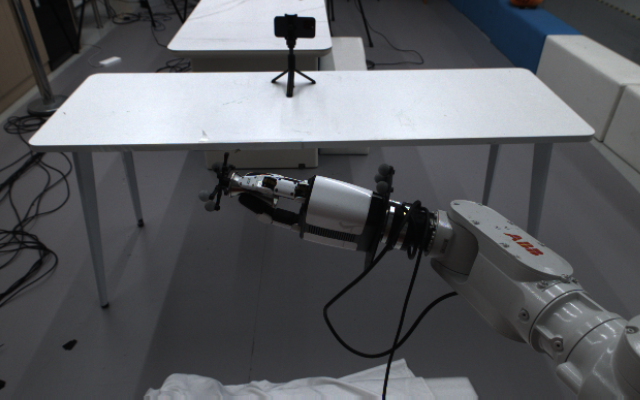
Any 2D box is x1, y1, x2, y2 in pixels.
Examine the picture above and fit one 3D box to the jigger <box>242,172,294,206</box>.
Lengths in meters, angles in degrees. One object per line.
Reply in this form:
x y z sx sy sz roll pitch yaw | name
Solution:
-0.089 -0.019 0.710 0.071 0.043 0.043 13 36 4 | jigger
